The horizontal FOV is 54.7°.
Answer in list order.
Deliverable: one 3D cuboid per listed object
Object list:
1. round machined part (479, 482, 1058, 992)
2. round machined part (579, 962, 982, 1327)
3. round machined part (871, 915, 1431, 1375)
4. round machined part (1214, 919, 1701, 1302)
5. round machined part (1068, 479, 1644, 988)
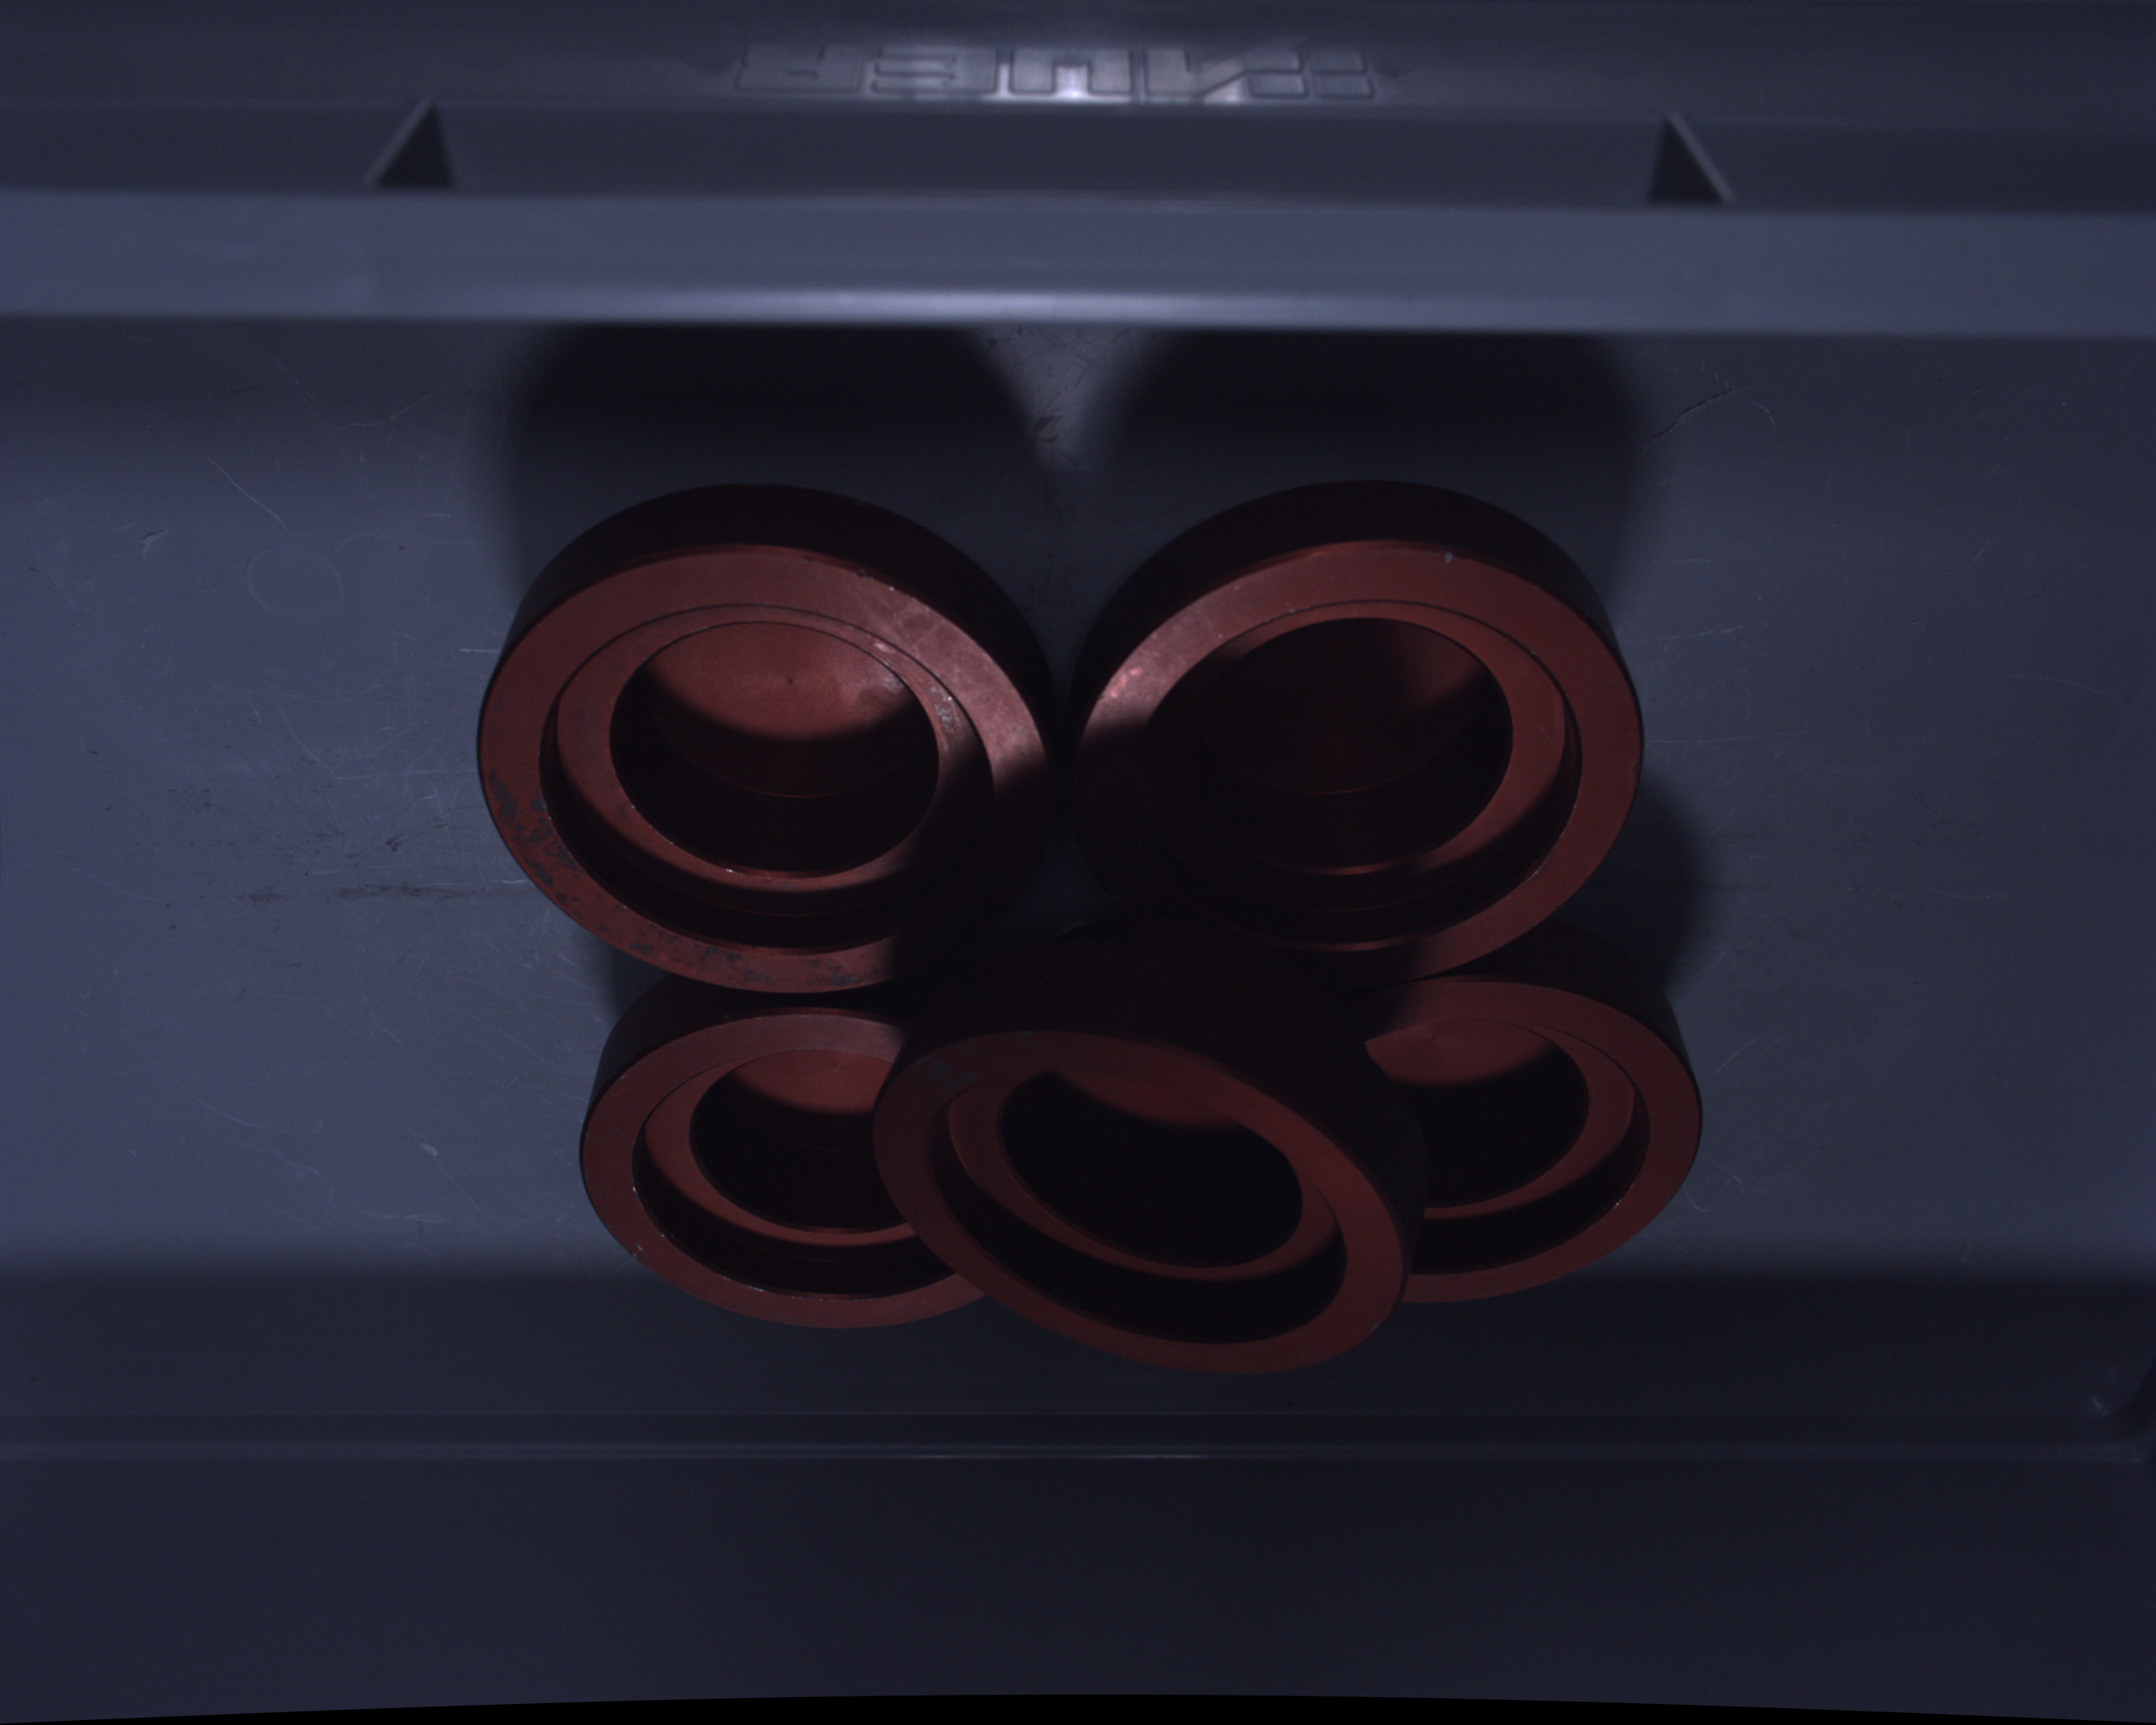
[{"bbox_3d":[-0.053,-0.026,0.373,0.099,0.042,0.097,-1,130,0],"label":"round machined part"},{"bbox_3d":[-0.052,0.051,0.439,0.099,0.042,0.097,-1,130,0],"label":"round machined part"},{"bbox_3d":[0.016,0.048,0.381,0.098,0.042,0.097,13,137,13],"label":"round machined part"},{"bbox_3d":[0.076,0.045,0.435,0.099,0.042,0.097,-1,130,0],"label":"round machined part"},{"bbox_3d":[0.047,-0.026,0.374,0.099,0.042,0.097,-1,130,0],"label":"round machined part"}]
